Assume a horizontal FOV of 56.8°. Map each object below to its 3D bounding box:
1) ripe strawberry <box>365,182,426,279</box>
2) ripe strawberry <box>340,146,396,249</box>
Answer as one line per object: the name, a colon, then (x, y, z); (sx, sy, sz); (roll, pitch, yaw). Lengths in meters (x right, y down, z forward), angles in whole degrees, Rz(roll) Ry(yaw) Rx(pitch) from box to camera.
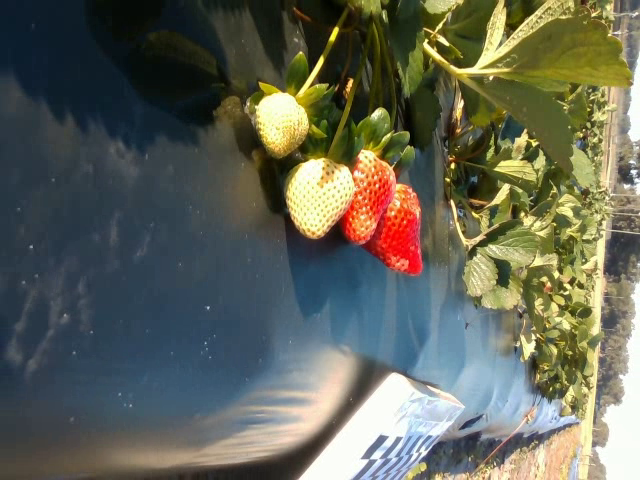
ripe strawberry: (0.044, -0.004, 0.349); (0.056, 0.067, 0.051); (-28, 4, -34)
ripe strawberry: (0.021, -0.021, 0.303); (0.043, 0.061, 0.051); (3, -33, 3)
